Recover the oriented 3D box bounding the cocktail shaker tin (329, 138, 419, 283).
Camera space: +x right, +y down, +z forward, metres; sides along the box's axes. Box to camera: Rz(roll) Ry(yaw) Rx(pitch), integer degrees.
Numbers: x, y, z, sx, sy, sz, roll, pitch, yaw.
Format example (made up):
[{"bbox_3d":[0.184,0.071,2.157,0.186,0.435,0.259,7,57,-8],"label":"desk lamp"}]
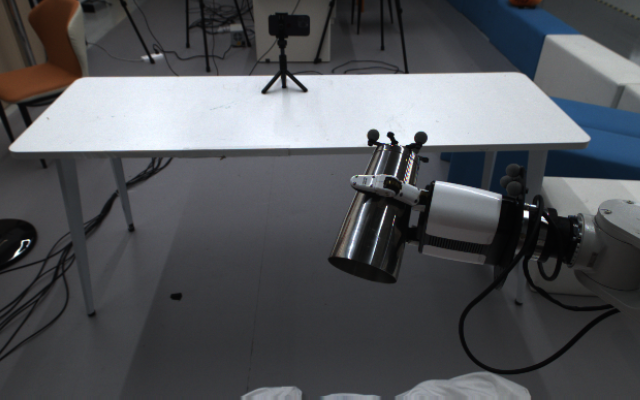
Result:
[{"bbox_3d":[0.079,0.014,0.642,0.093,0.093,0.170,14,70,16],"label":"cocktail shaker tin"}]
